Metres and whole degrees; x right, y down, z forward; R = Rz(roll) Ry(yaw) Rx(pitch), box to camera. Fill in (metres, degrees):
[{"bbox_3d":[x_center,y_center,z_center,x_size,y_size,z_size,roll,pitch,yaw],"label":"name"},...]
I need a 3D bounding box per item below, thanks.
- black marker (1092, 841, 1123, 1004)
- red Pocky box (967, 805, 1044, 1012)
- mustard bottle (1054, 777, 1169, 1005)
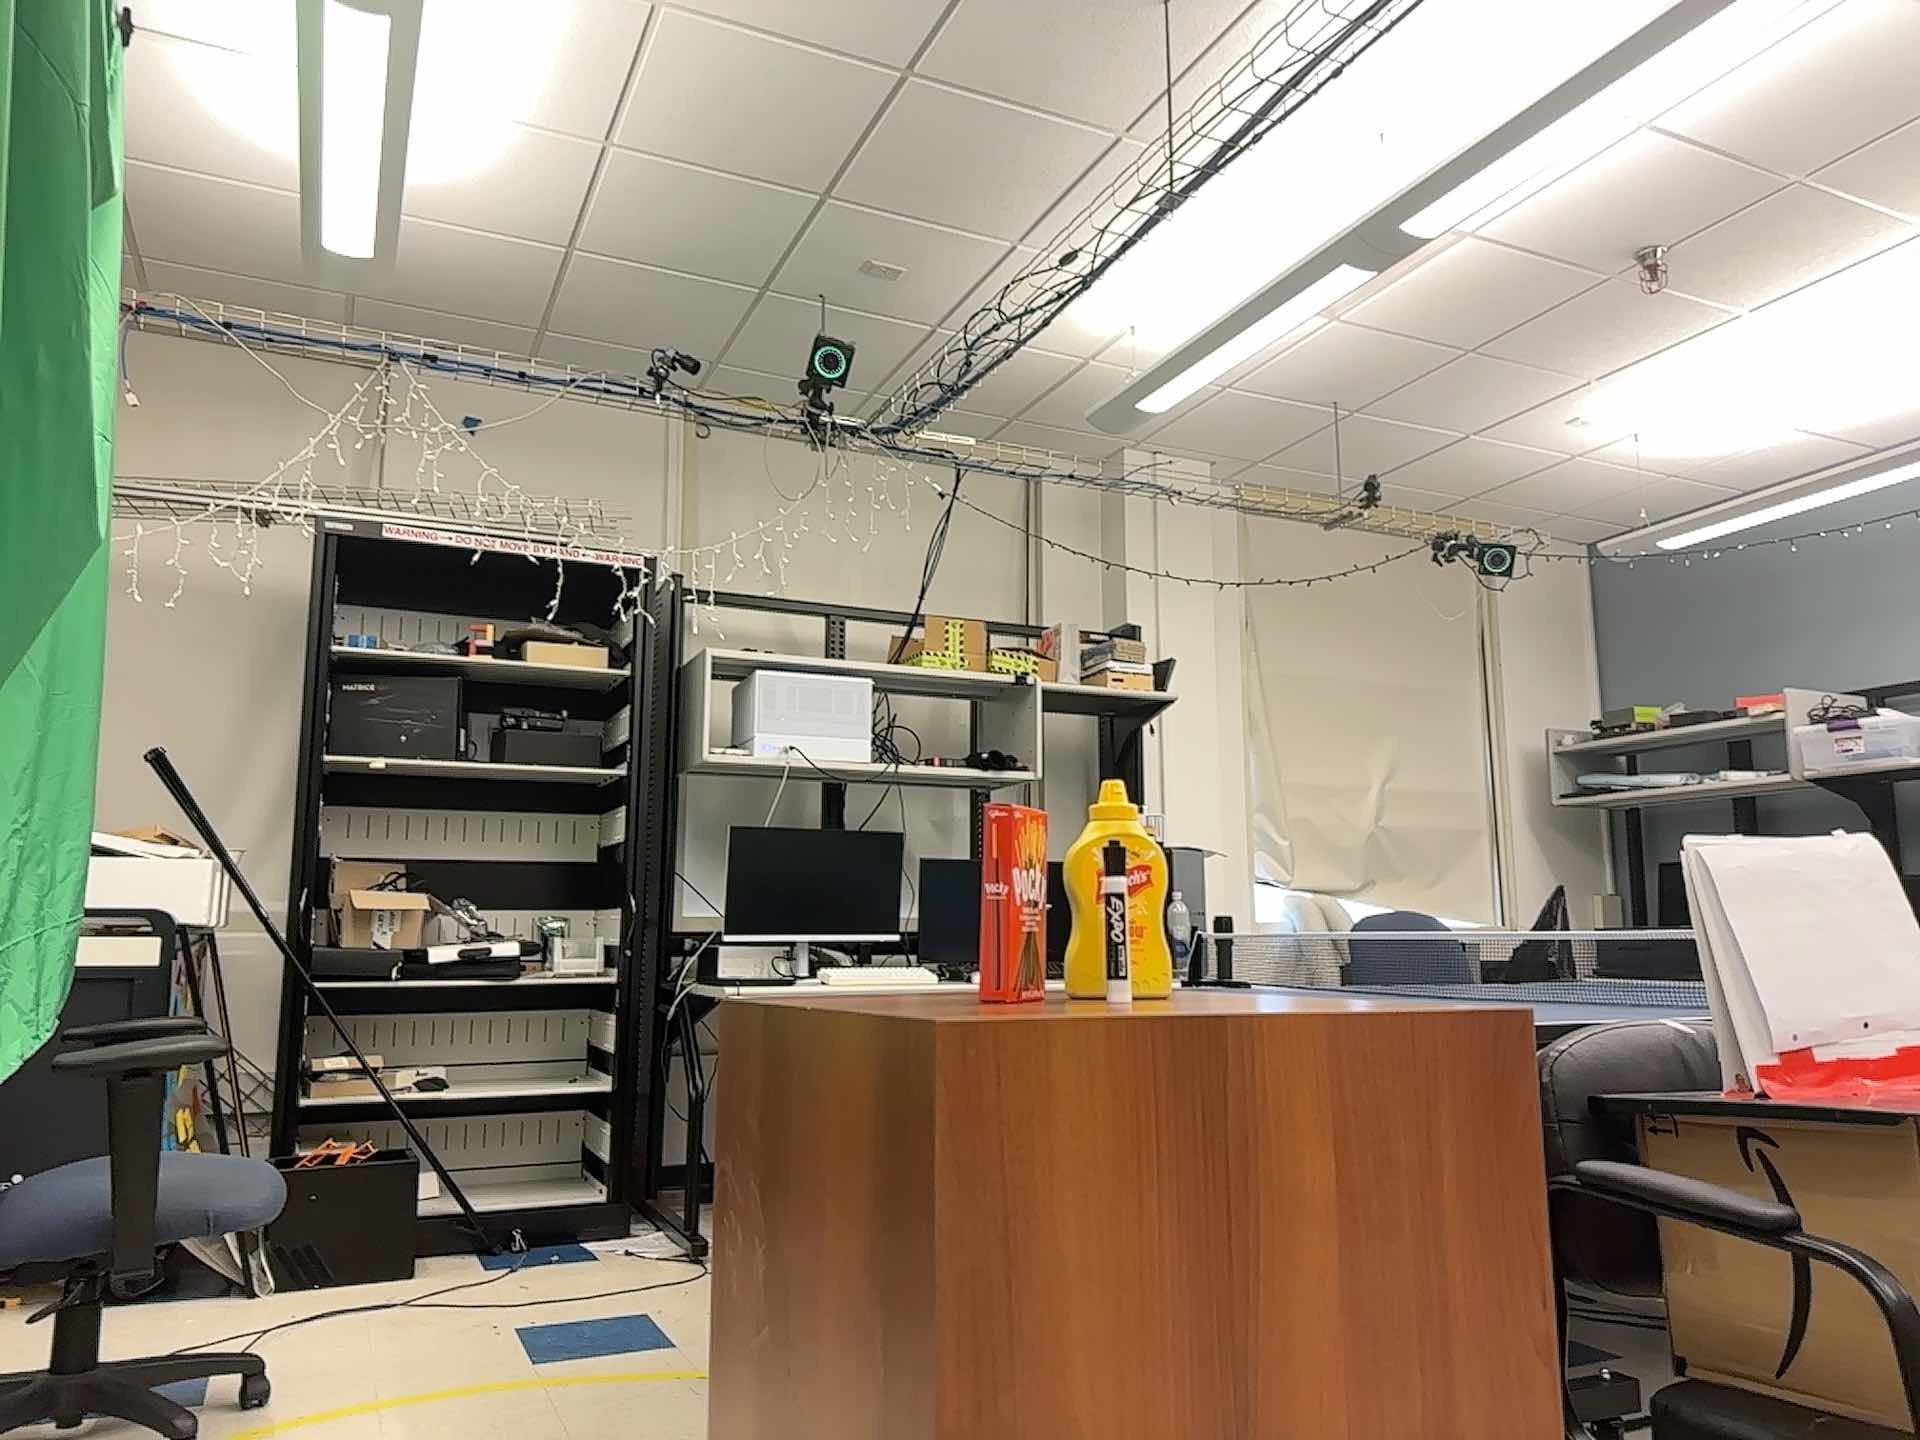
[{"bbox_3d":[0.111,0.152,1.015,0.020,0.121,0.020,-1,-12,0],"label":"black marker"},{"bbox_3d":[0.036,0.144,1.039,0.028,0.155,0.083,-4,-8,29],"label":"red Pocky box"},{"bbox_3d":[0.123,0.139,1.110,0.092,0.184,0.054,0,-7,-5],"label":"mustard bottle"}]
